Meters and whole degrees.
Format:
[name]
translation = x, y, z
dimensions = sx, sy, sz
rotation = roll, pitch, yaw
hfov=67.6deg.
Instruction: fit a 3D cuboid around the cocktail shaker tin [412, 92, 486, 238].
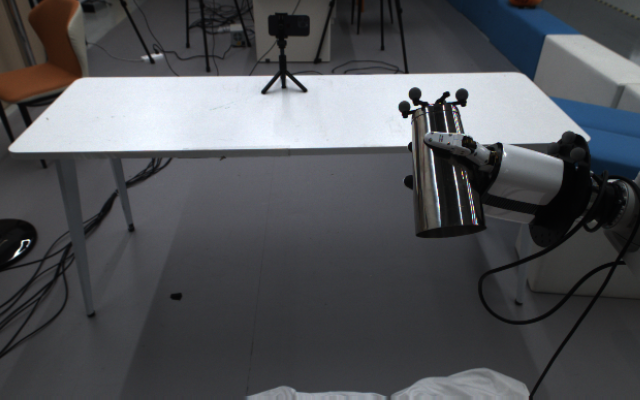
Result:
[cocktail shaker tin]
translation = 0.168, -0.040, 0.659
dimensions = 0.093, 0.093, 0.170
rotation = -3, 77, -8
